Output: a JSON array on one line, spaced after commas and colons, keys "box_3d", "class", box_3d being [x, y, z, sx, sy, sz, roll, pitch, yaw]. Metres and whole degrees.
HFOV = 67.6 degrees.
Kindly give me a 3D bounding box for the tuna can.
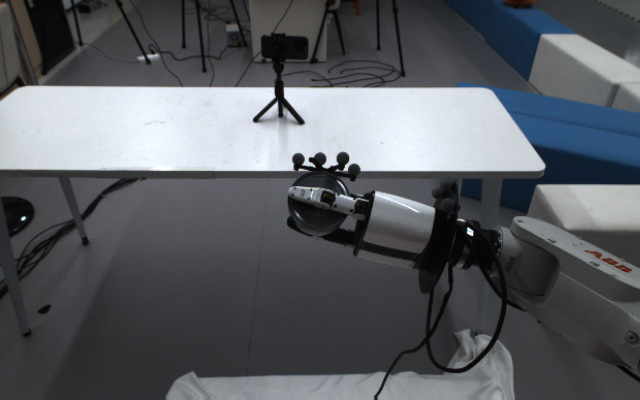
[{"box_3d": [-0.001, 0.004, 0.664, 0.085, 0.034, 0.085, 1, 73, -3], "class": "tuna can"}]
